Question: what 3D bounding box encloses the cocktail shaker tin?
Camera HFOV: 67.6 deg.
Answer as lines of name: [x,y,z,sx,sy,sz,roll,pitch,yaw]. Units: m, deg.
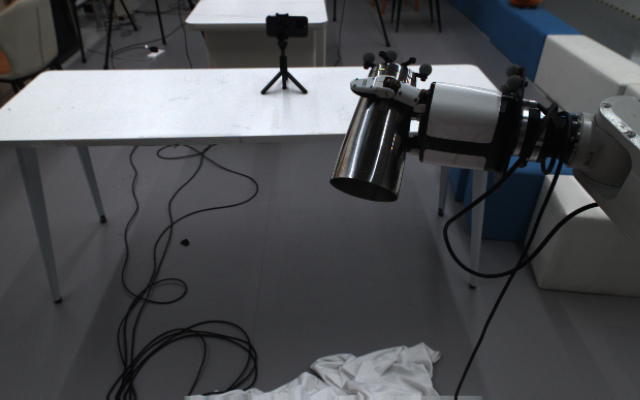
cocktail shaker tin: [0.082,-0.096,0.649,0.093,0.093,0.170,13,77,15]
